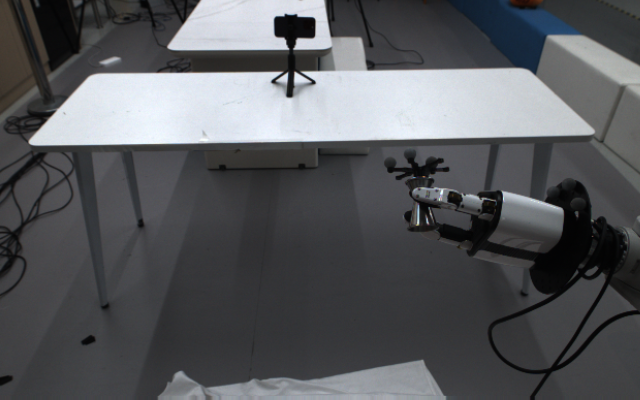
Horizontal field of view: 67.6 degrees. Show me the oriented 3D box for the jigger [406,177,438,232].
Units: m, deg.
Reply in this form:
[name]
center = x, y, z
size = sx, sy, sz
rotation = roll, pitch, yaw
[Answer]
[jigger]
center = 0.140, 0.004, 0.663
size = 0.043, 0.043, 0.071
rotation = 0, 75, -3
